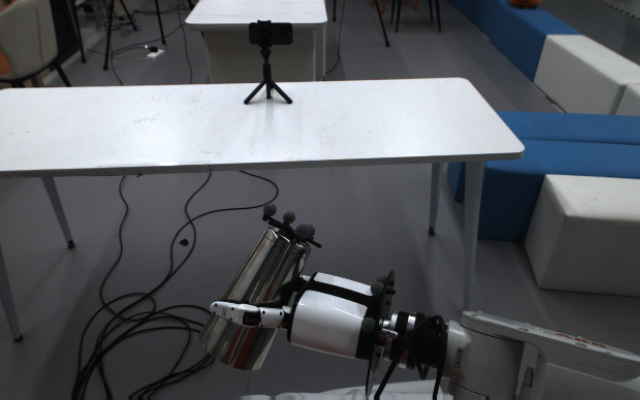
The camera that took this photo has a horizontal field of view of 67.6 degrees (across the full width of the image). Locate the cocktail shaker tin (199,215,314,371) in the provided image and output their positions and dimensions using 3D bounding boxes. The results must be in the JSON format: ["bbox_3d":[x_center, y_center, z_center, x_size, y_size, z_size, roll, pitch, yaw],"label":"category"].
[{"bbox_3d":[-0.076,0.121,0.637,0.093,0.170,0.093,26,2,-1],"label":"cocktail shaker tin"}]
